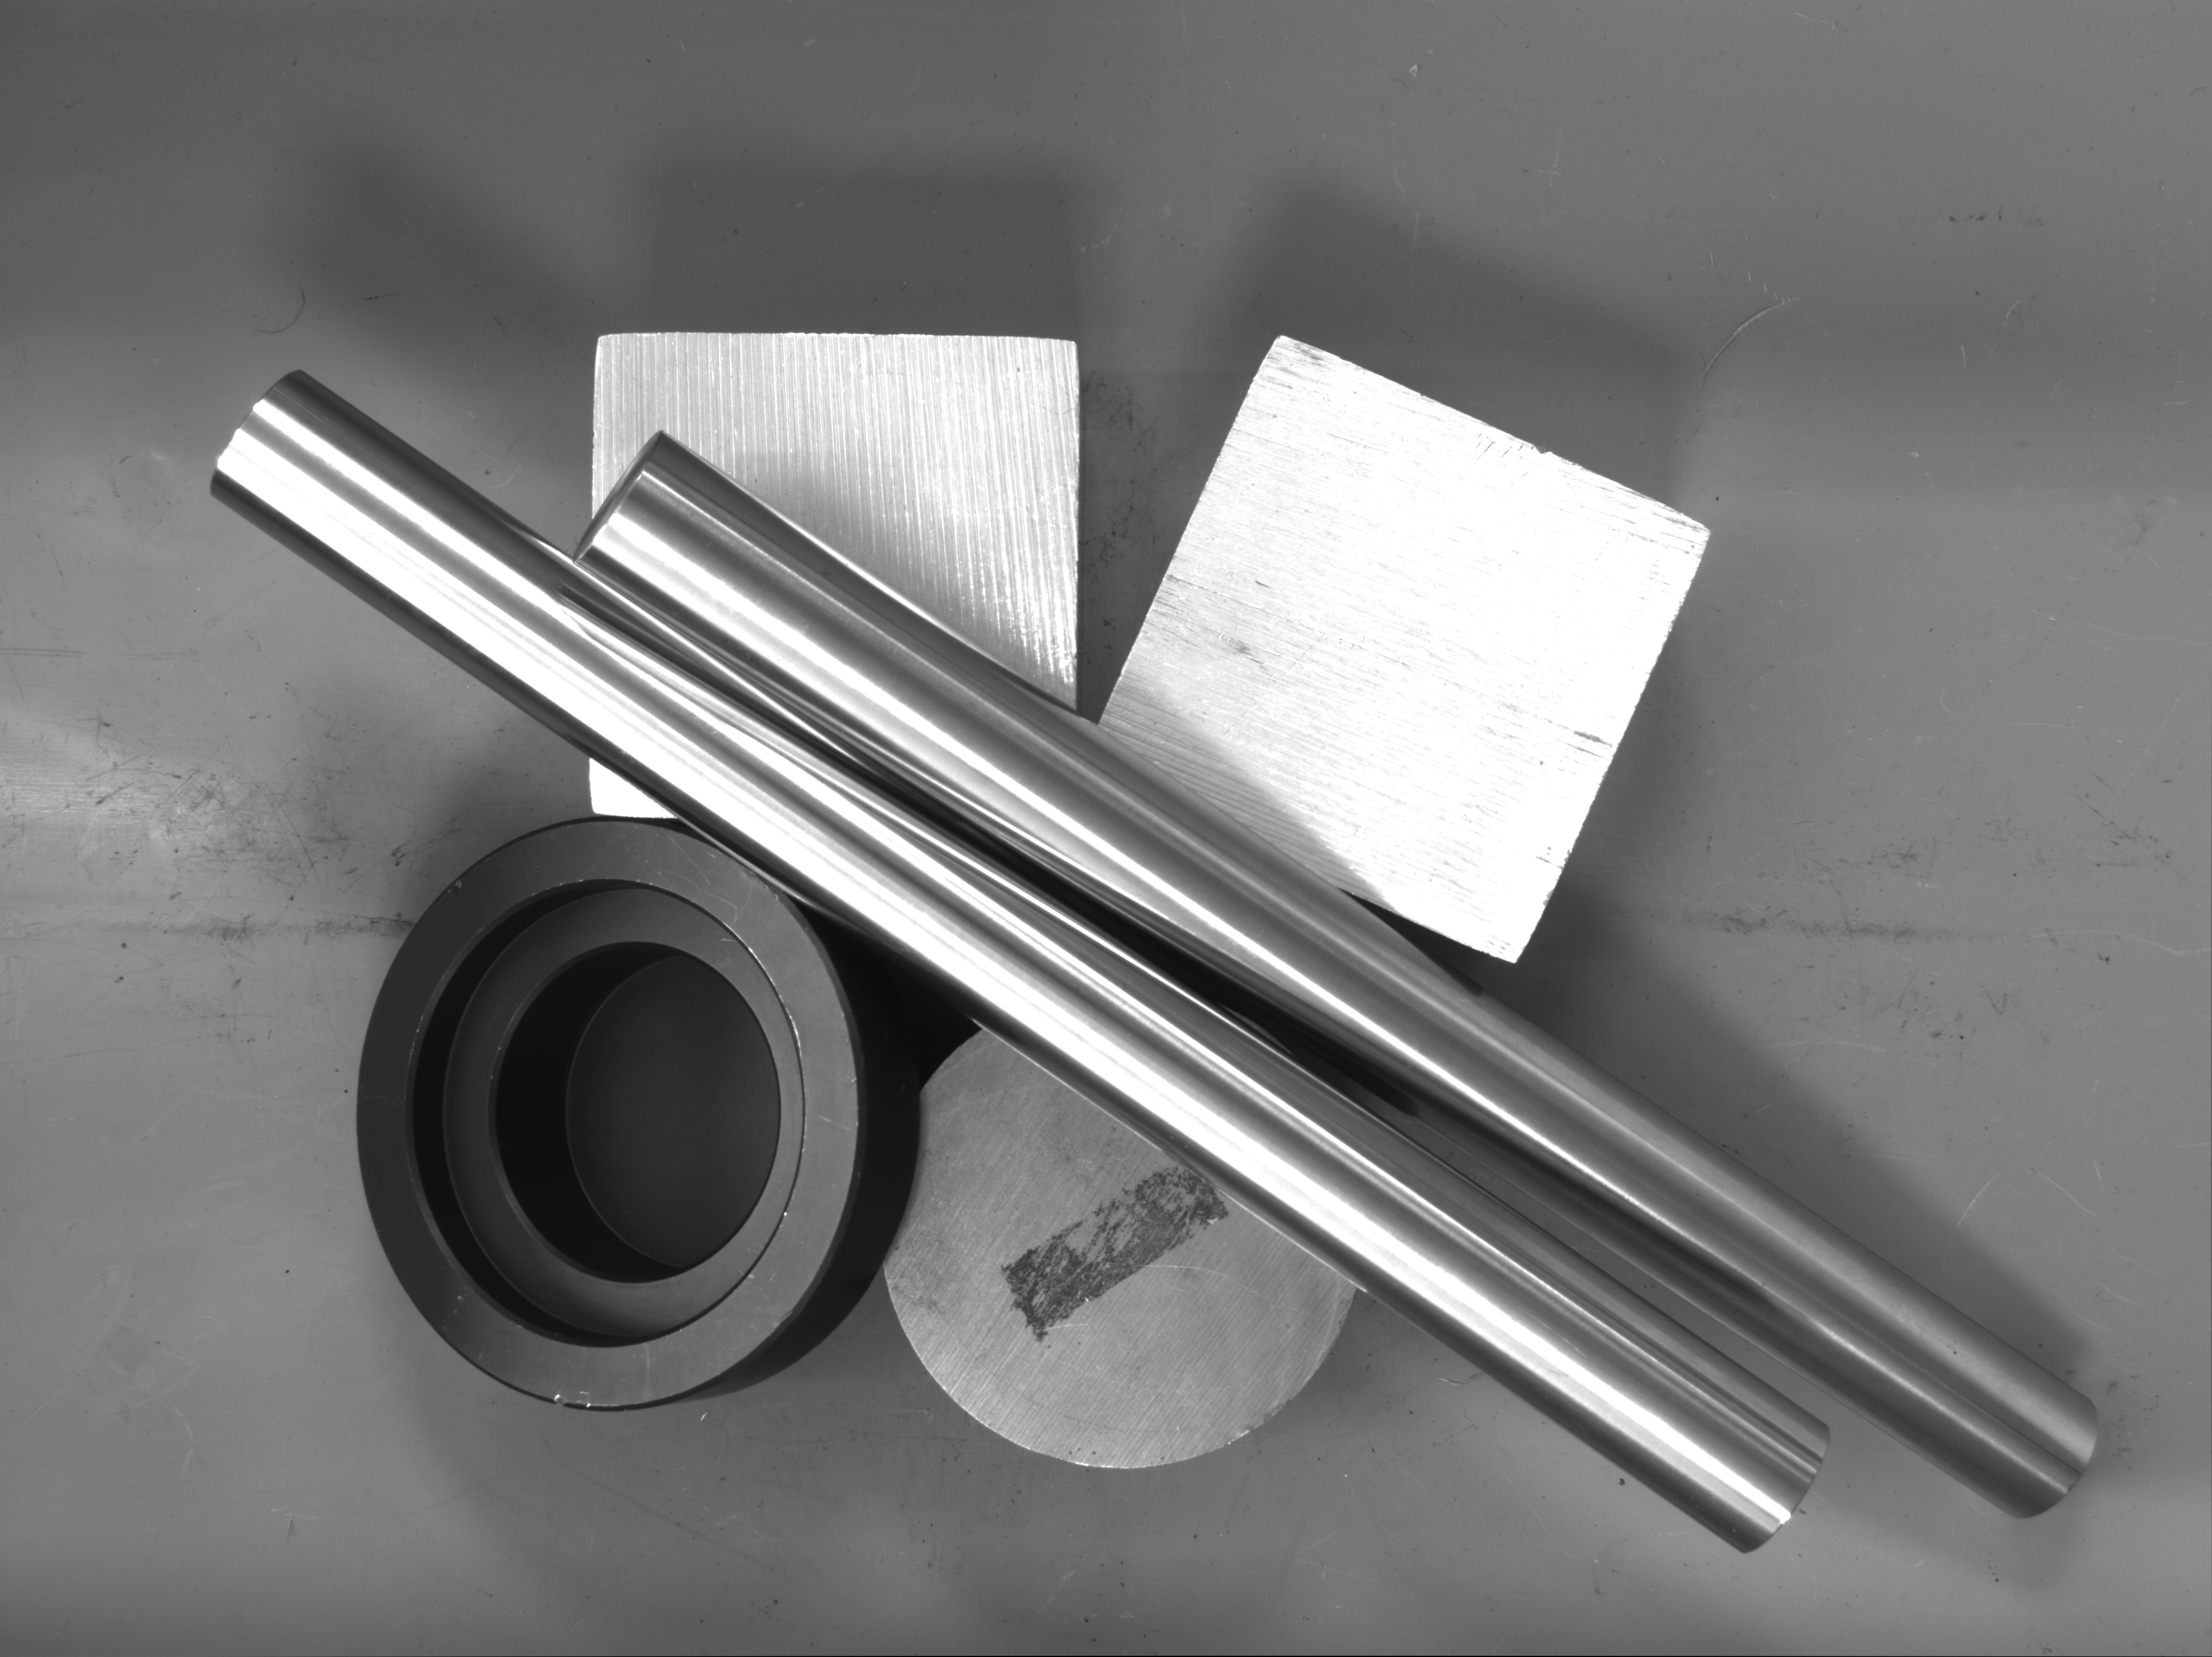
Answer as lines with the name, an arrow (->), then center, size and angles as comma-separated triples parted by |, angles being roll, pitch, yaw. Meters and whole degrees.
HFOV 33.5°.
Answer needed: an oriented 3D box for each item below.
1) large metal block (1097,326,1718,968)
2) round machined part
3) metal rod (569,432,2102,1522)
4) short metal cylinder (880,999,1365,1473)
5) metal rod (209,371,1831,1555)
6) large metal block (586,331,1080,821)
large metal block -> 0.048, -0.030, 0.631 | 0.080, 0.050, 0.080 | 24, 90, 0
round machined part -> -0.075, 0.048, 0.625 | 0.098, 0.042, 0.098 | -2, 86, 24
metal rod -> 0.045, 0.030, 0.607 | 0.300, 0.025, 0.025 | 34, 90, -14
short metal cylinder -> 0.003, 0.066, 0.631 | 0.080, 0.050, 0.080 | 0, 90, 0
metal rod -> -0.013, 0.022, 0.593 | 0.300, 0.025, 0.025 | 35, 90, -1
large metal block -> -0.045, -0.041, 0.629 | 0.080, 0.050, 0.080 | 1, 90, 0
